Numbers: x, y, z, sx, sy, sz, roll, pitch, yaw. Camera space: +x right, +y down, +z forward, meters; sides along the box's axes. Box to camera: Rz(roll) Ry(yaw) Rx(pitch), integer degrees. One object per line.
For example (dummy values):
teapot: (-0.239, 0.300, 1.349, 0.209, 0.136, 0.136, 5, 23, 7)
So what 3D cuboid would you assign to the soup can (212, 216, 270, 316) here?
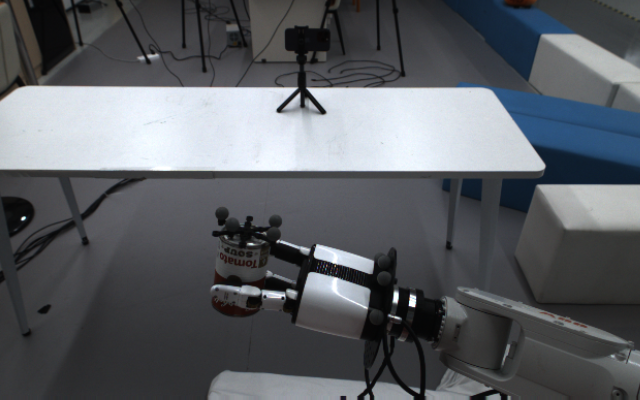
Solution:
soup can: (-0.100, 0.090, 0.627, 0.067, 0.101, 0.067, 9, 20, -3)
